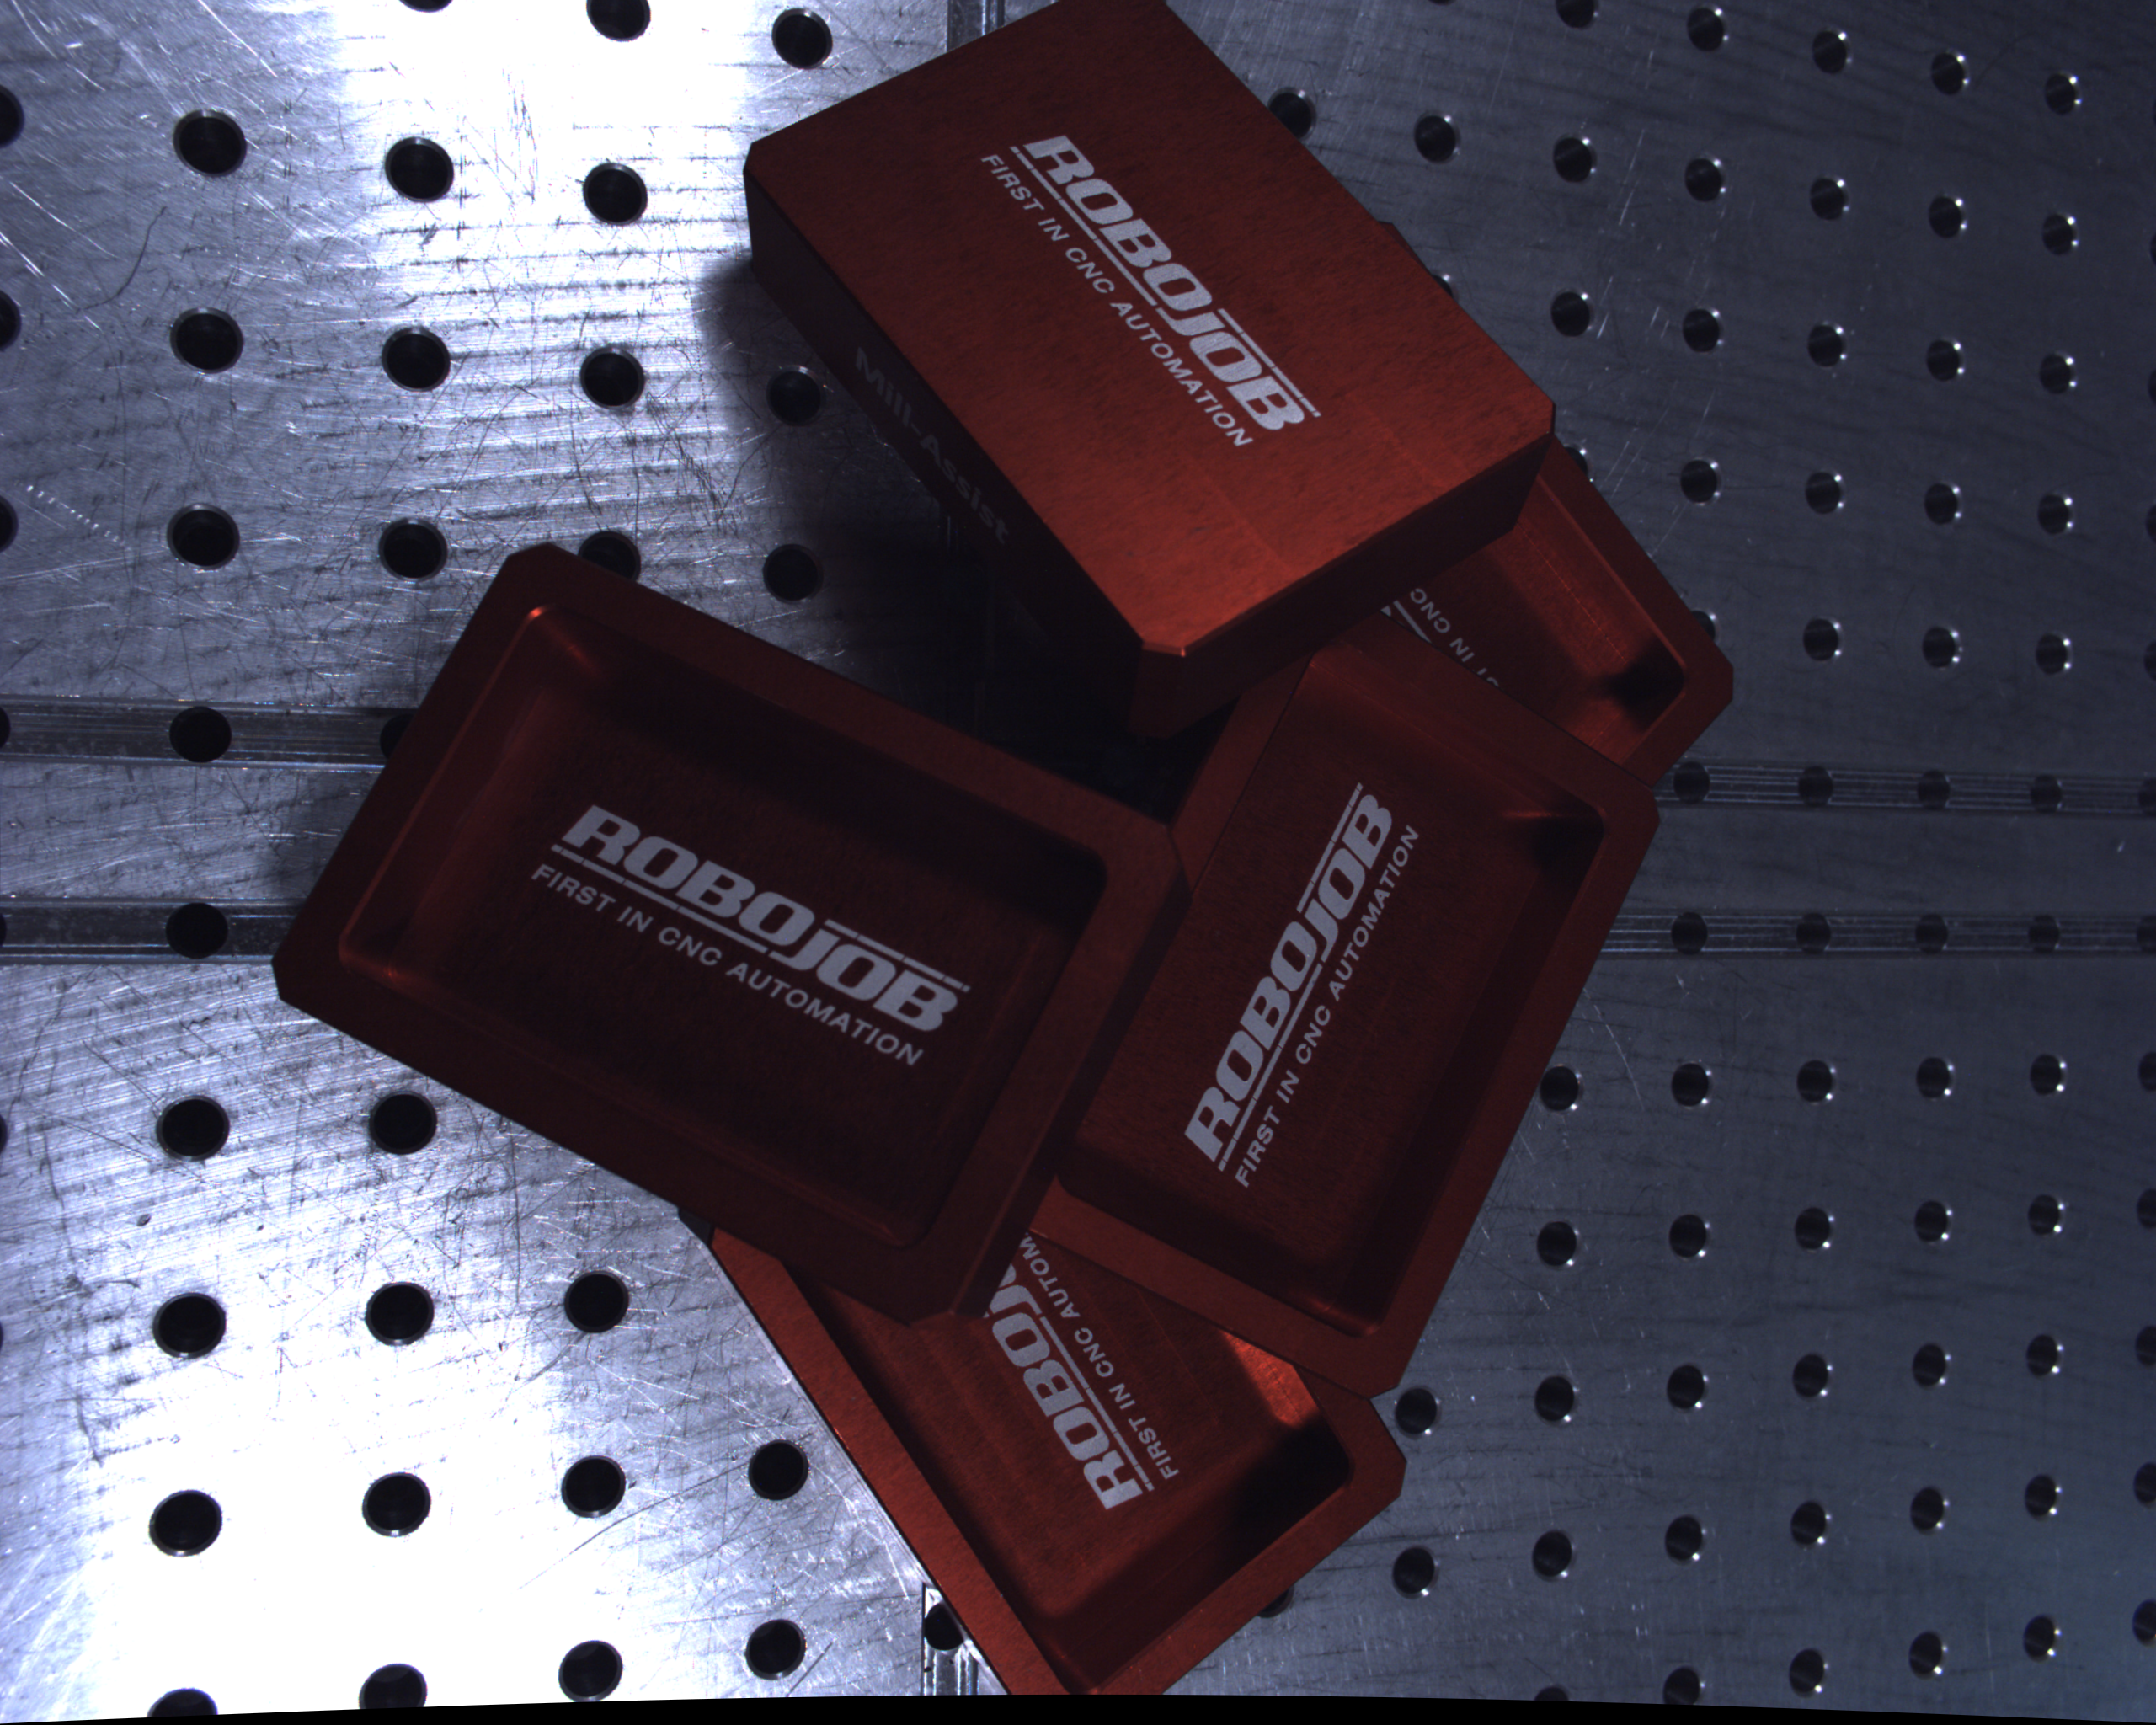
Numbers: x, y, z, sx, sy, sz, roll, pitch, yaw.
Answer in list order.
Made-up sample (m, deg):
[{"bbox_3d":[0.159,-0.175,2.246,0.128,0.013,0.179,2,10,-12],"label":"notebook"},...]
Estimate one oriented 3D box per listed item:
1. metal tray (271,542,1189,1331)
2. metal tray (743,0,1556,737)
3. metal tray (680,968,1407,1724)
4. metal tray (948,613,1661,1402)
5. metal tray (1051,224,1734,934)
[{"bbox_3d":[-0.058,0.011,0.357,0.130,0.030,0.090,25,80,12],"label":"metal tray"},{"bbox_3d":[0.011,-0.096,0.382,0.091,0.030,0.130,-32,71,-18],"label":"metal tray"},{"bbox_3d":[-0.005,0.095,0.409,0.090,0.030,0.130,-34,102,-17],"label":"metal tray"},{"bbox_3d":[0.044,0.024,0.396,0.090,0.030,0.130,30,80,-18],"label":"metal tray"},{"bbox_3d":[0.066,-0.054,0.435,0.090,0.030,0.130,-45,105,-15],"label":"metal tray"}]
